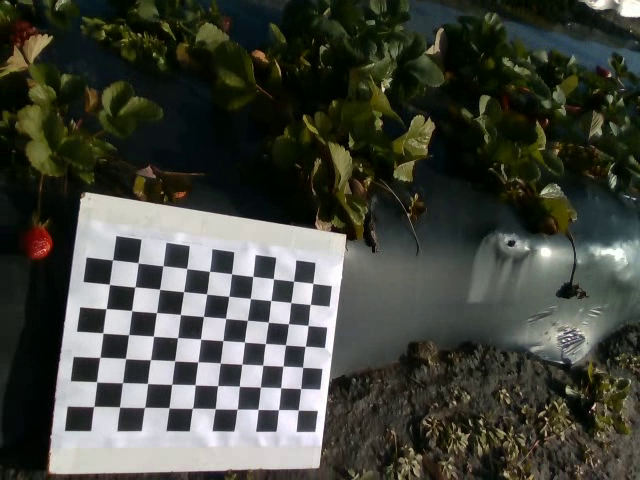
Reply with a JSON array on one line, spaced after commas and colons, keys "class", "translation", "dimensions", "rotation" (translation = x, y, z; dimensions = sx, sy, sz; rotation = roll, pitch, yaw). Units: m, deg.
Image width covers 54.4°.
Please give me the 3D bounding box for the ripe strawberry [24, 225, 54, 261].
[{"class": "ripe strawberry", "translation": [-0.235, 0.006, 0.510], "dimensions": [0.034, 0.033, 0.038], "rotation": [7, 34, -23]}]
